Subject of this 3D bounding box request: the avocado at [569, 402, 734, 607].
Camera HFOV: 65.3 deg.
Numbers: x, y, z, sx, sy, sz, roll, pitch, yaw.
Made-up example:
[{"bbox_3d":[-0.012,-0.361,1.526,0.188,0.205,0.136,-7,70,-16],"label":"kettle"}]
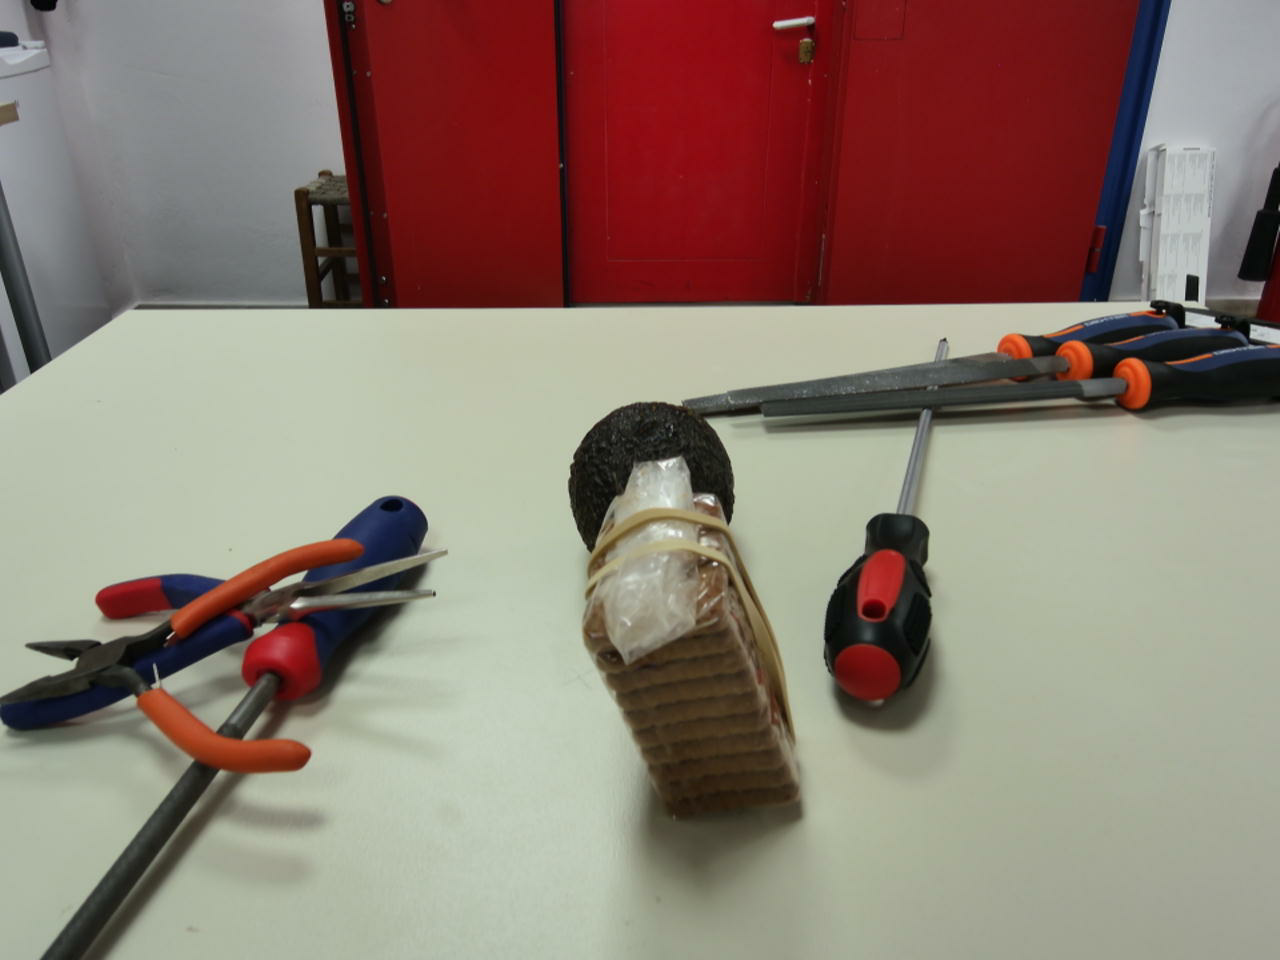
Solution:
[{"bbox_3d":[0.003,0.005,0.414,0.070,0.069,0.090,11,26,23],"label":"avocado"}]
